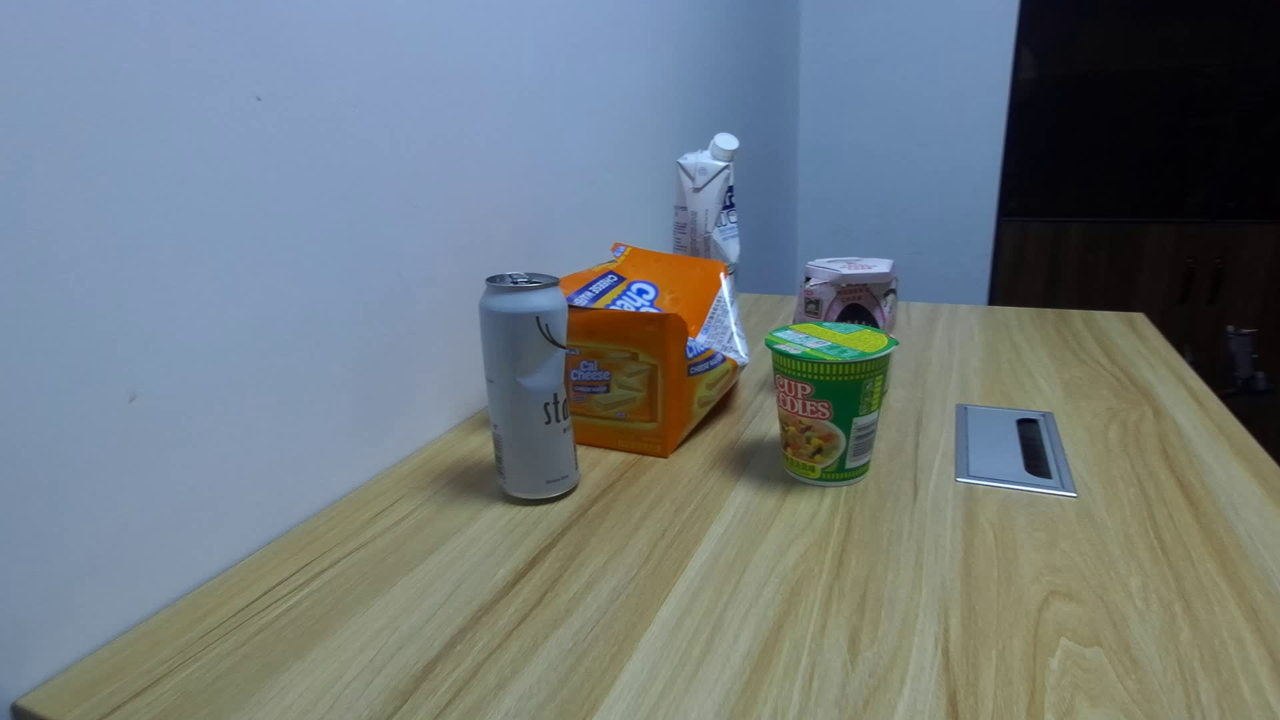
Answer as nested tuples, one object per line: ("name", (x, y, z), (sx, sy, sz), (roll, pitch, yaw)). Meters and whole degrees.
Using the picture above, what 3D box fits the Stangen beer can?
("Stangen beer can", (-0.079, 0.019, 0.540), (0.069, 0.173, 0.070), (6, 18, 26))

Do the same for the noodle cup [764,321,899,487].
("noodle cup", (0.147, 0.035, 0.550), (0.097, 0.110, 0.097), (-3, 18, 1))

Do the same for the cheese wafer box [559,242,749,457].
("cheese wafer box", (0.011, -0.022, 0.690), (0.190, 0.145, 0.219), (5, 20, 23))

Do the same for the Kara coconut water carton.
("Kara coconut water carton", (0.077, -0.132, 0.829), (0.078, 0.255, 0.083), (8, 20, 25))

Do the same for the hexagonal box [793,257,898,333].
("hexagonal box", (0.203, -0.031, 0.705), (0.091, 0.134, 0.090), (10, 20, 33))
